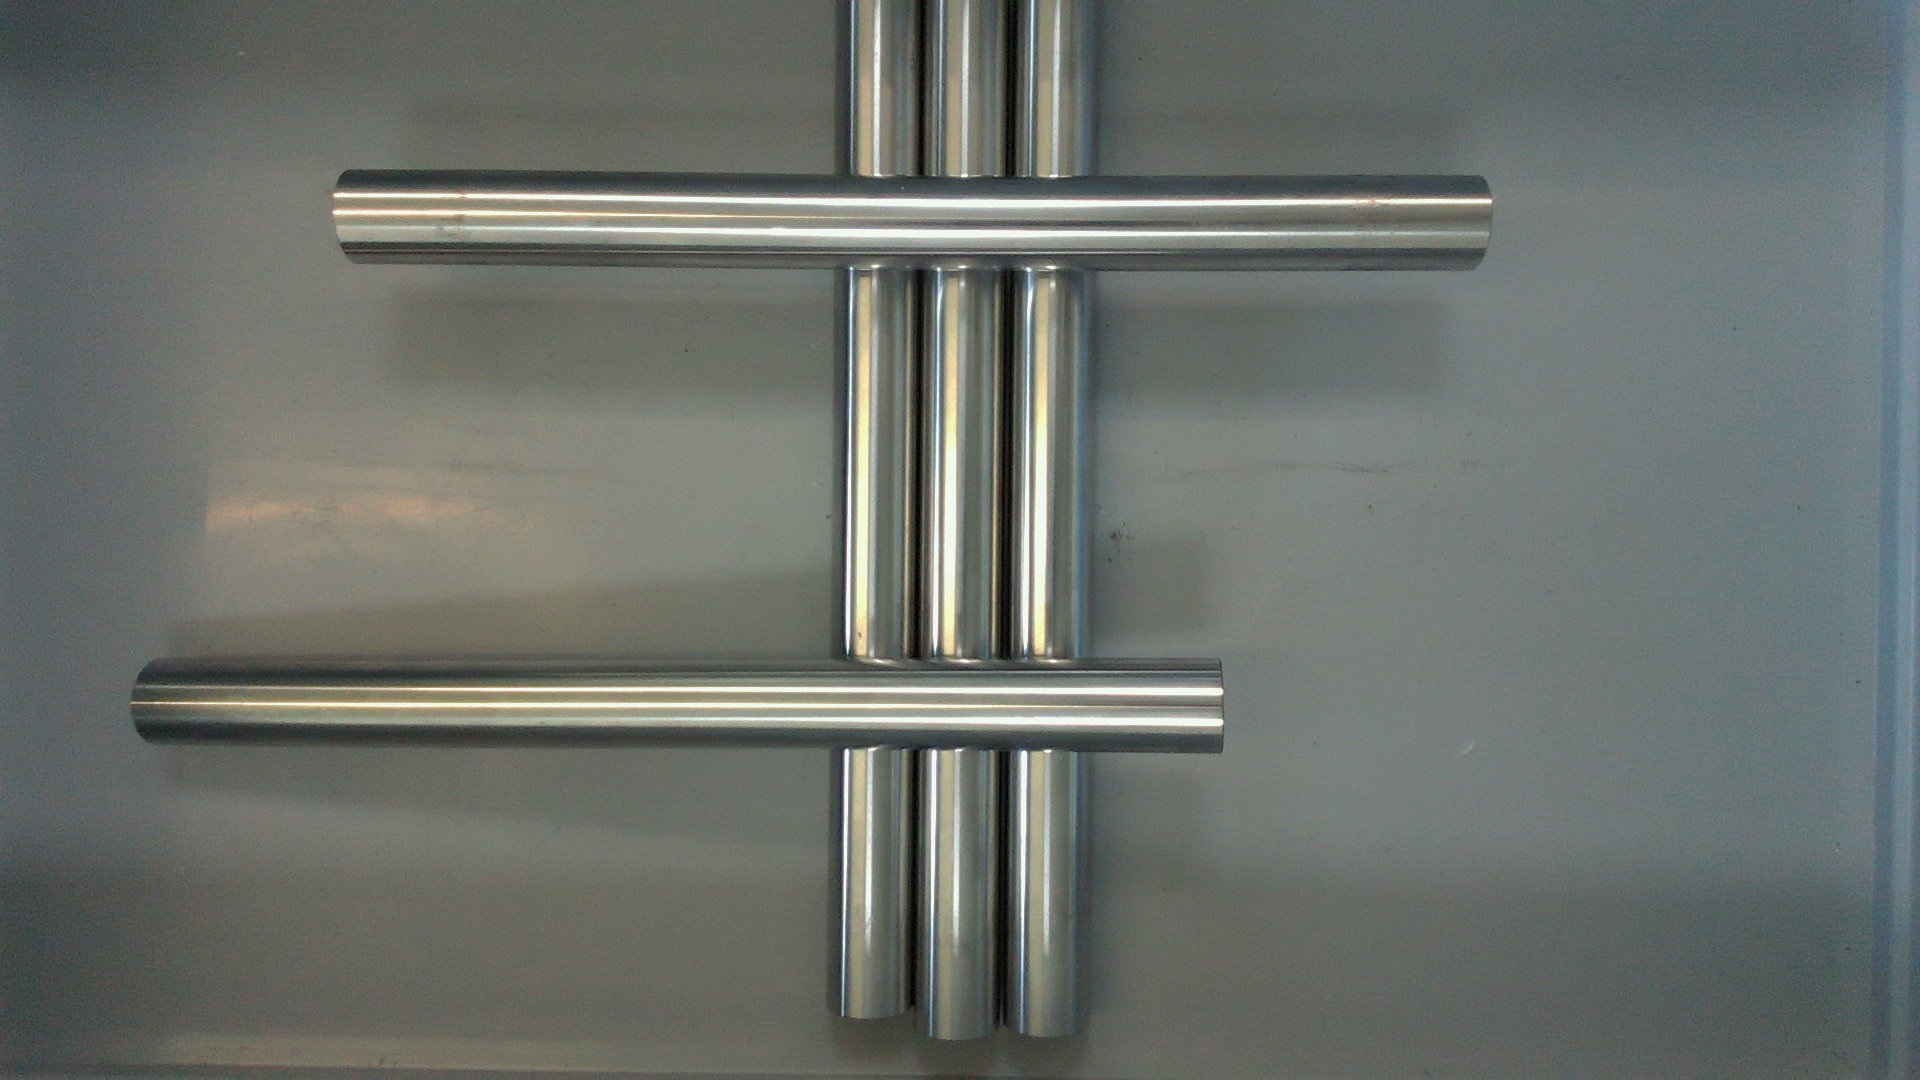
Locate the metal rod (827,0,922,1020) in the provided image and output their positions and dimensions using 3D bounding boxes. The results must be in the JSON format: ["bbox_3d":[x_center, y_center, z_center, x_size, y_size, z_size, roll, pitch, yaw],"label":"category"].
[{"bbox_3d":[-0.024,-0.017,0.395,0.025,0.025,0.300,1,90,0],"label":"metal rod"}]

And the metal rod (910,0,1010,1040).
[{"bbox_3d":[0.000,-0.011,0.395,0.025,0.025,0.300,1,90,0],"label":"metal rod"}]

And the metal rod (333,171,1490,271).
[{"bbox_3d":[-0.012,-0.085,0.369,0.300,0.025,0.025,0,90,0],"label":"metal rod"}]

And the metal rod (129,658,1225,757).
[{"bbox_3d":[-0.080,0.045,0.376,0.300,0.025,0.025,0,90,7],"label":"metal rod"}]

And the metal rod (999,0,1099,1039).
[{"bbox_3d":[0.025,-0.011,0.394,0.025,0.025,0.300,1,90,0],"label":"metal rod"}]
